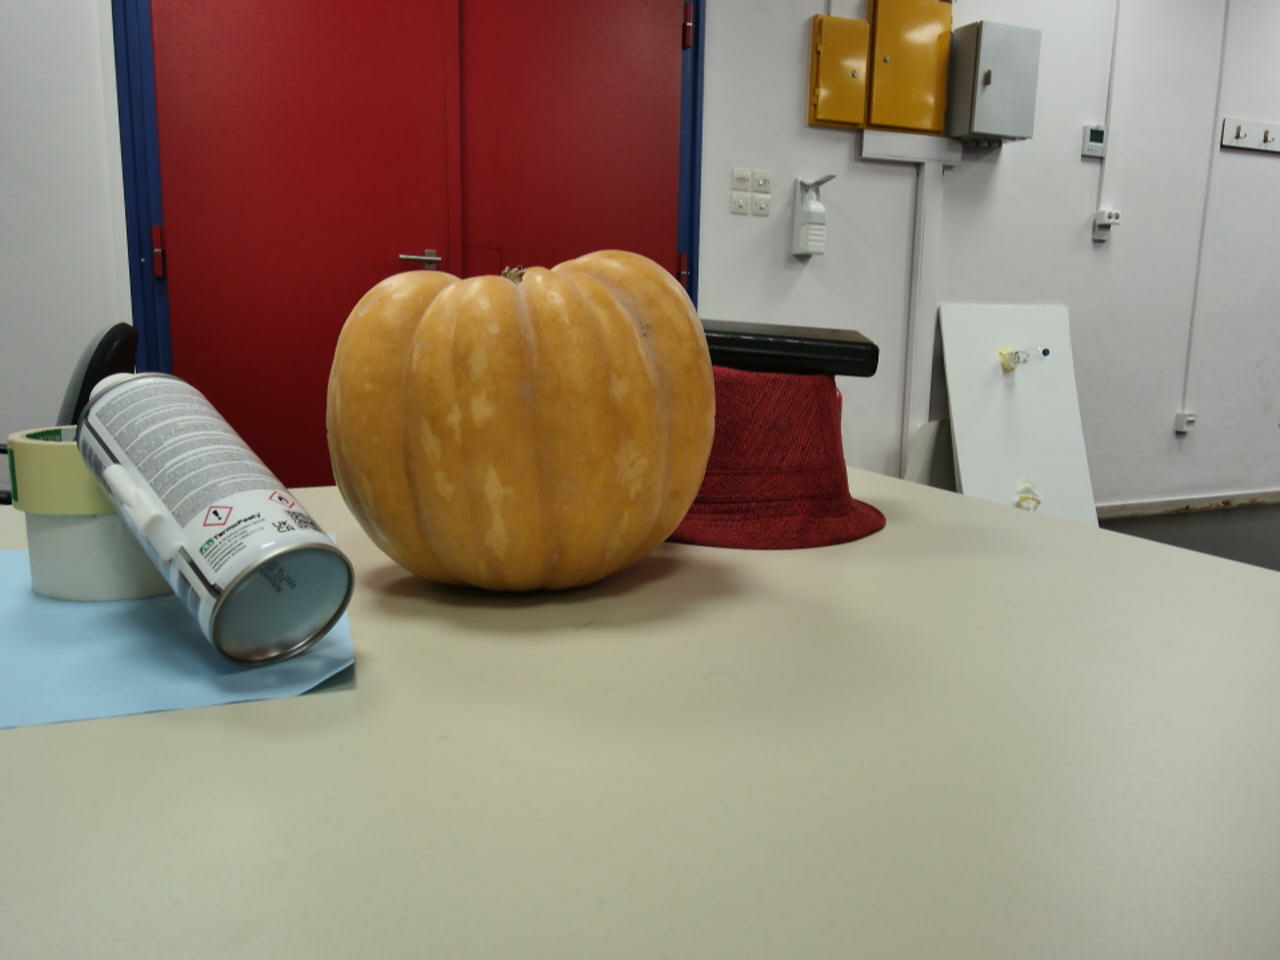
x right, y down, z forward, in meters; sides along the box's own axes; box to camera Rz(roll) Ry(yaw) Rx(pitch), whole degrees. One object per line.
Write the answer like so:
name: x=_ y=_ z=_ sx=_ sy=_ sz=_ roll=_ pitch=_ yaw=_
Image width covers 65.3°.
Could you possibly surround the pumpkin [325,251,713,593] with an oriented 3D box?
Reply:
pumpkin: x=-0.065 y=-0.035 z=0.586 sx=0.230 sy=0.194 sz=0.230 roll=1 pitch=8 yaw=0
